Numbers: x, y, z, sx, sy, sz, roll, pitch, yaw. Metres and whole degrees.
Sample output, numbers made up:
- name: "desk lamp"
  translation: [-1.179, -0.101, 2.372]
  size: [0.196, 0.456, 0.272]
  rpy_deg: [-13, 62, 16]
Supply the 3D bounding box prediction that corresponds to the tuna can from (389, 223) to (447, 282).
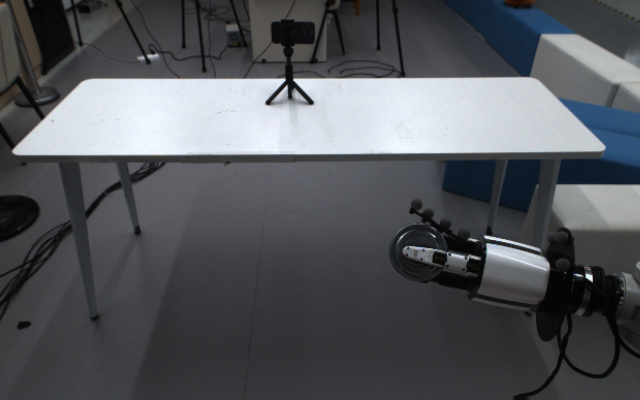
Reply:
- name: "tuna can"
  translation: [0.147, 0.075, 0.711]
  size: [0.085, 0.085, 0.034]
  rpy_deg: [12, -4, 15]
